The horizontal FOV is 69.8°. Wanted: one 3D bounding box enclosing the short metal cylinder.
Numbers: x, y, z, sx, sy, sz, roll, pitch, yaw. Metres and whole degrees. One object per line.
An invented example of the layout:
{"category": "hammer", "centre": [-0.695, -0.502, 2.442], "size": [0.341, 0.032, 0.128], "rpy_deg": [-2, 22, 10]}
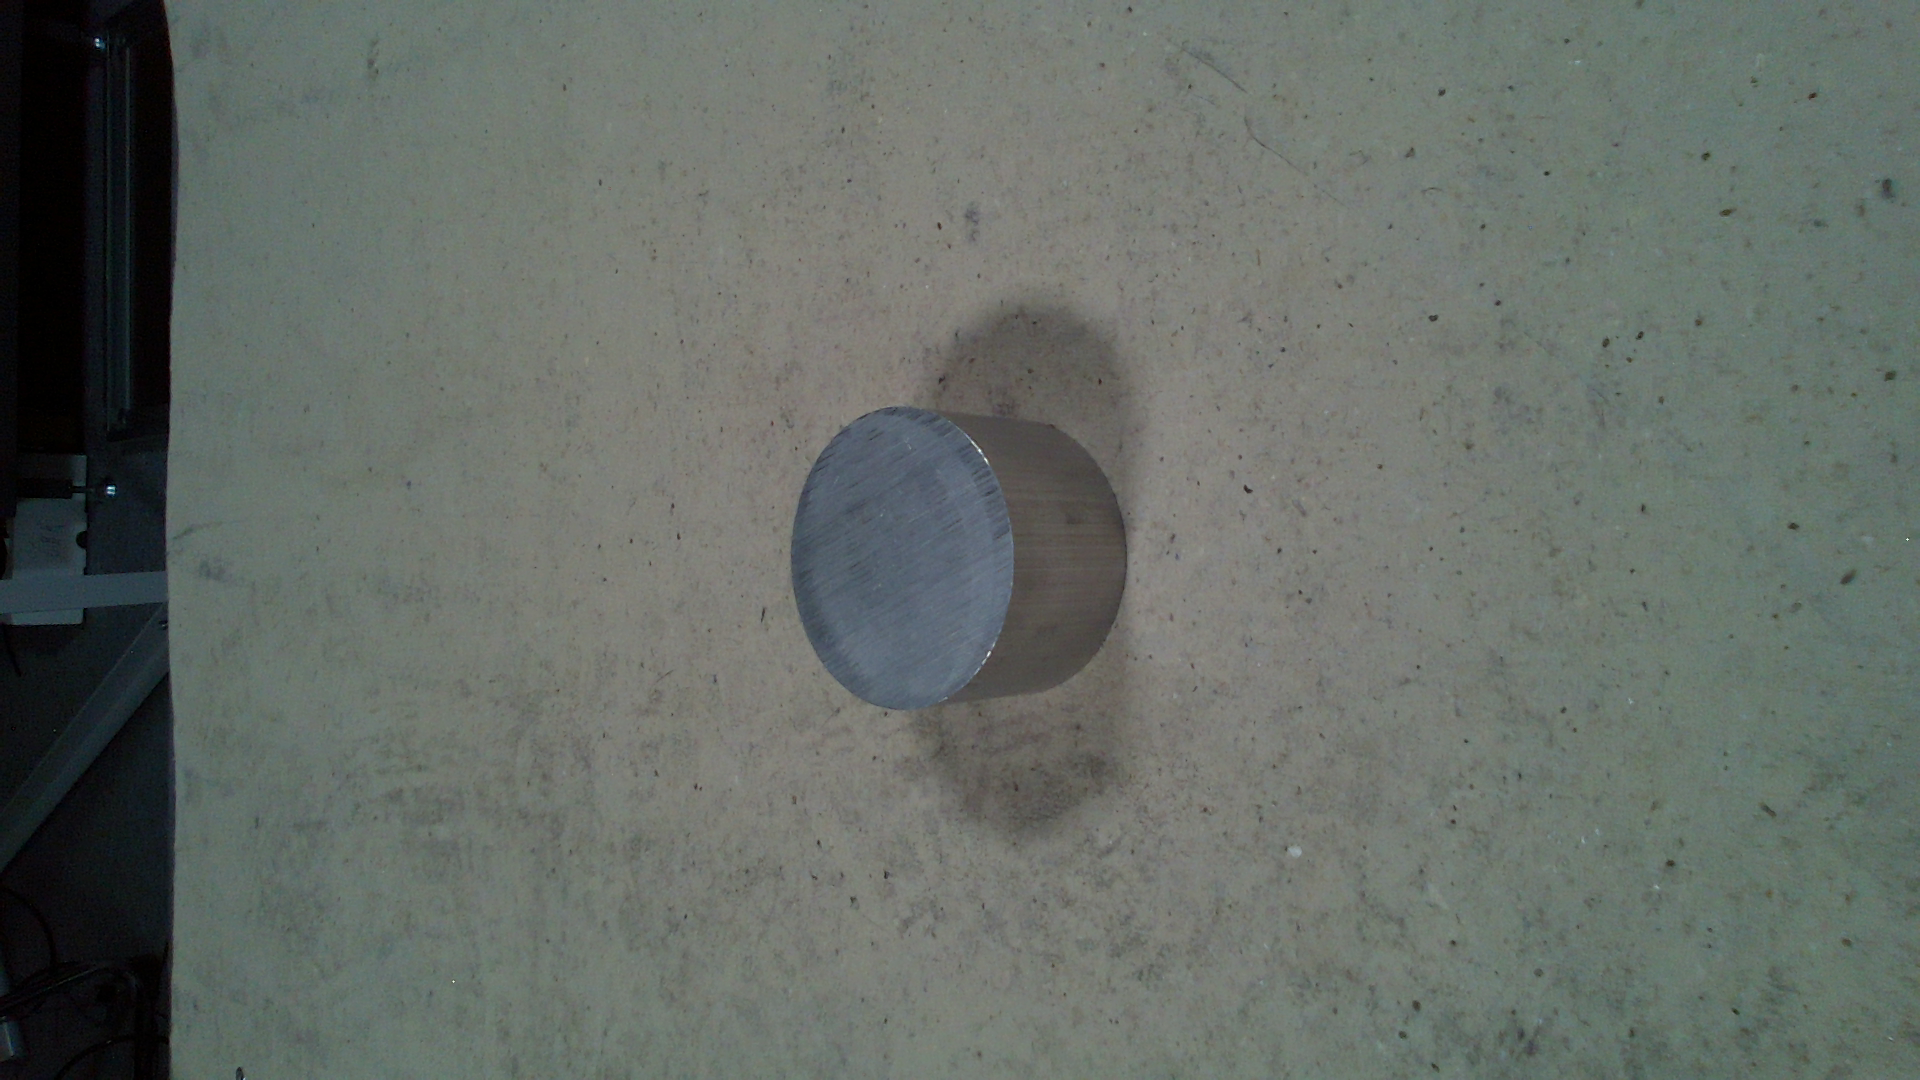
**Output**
{"category": "short metal cylinder", "centre": [-0.001, 0.004, 0.380], "size": [0.080, 0.050, 0.080], "rpy_deg": [0, 90, 40]}
